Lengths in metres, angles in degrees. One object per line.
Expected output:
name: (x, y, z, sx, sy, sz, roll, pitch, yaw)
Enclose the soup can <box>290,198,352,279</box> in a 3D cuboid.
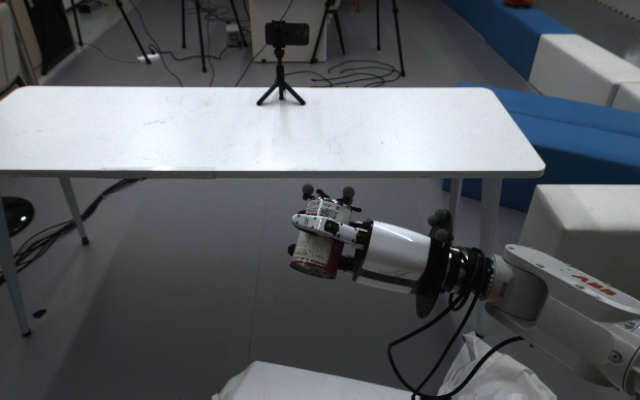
soup can: (0.004, 0.056, 0.691, 0.067, 0.067, 0.101, 11, 72, 13)
